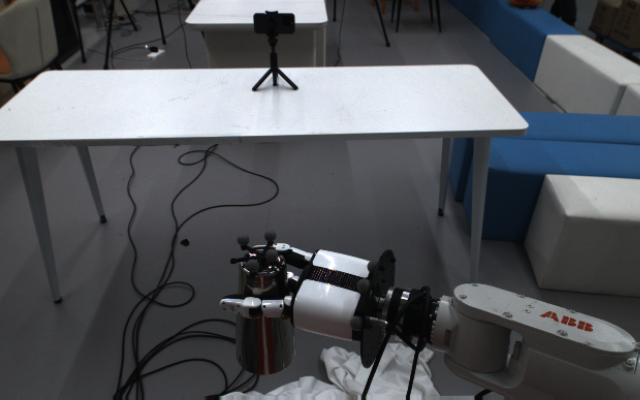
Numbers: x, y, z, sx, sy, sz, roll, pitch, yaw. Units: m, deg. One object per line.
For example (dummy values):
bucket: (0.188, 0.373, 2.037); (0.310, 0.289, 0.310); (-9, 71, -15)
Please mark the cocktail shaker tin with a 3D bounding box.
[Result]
cocktail shaker tin: (-0.081, 0.160, 0.719); (0.093, 0.170, 0.093); (1, 26, -1)
